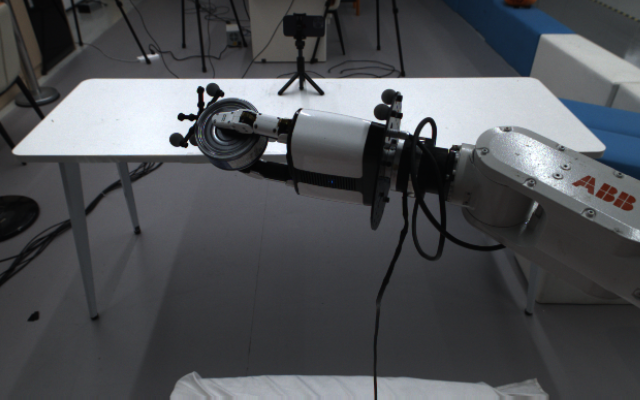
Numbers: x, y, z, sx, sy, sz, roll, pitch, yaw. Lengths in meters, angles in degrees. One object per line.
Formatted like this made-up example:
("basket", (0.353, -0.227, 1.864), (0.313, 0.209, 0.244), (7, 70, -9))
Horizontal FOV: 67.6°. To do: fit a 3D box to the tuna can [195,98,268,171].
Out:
("tuna can", (-0.105, -0.077, 0.595), (0.085, 0.034, 0.085), (-1, 73, 4))
